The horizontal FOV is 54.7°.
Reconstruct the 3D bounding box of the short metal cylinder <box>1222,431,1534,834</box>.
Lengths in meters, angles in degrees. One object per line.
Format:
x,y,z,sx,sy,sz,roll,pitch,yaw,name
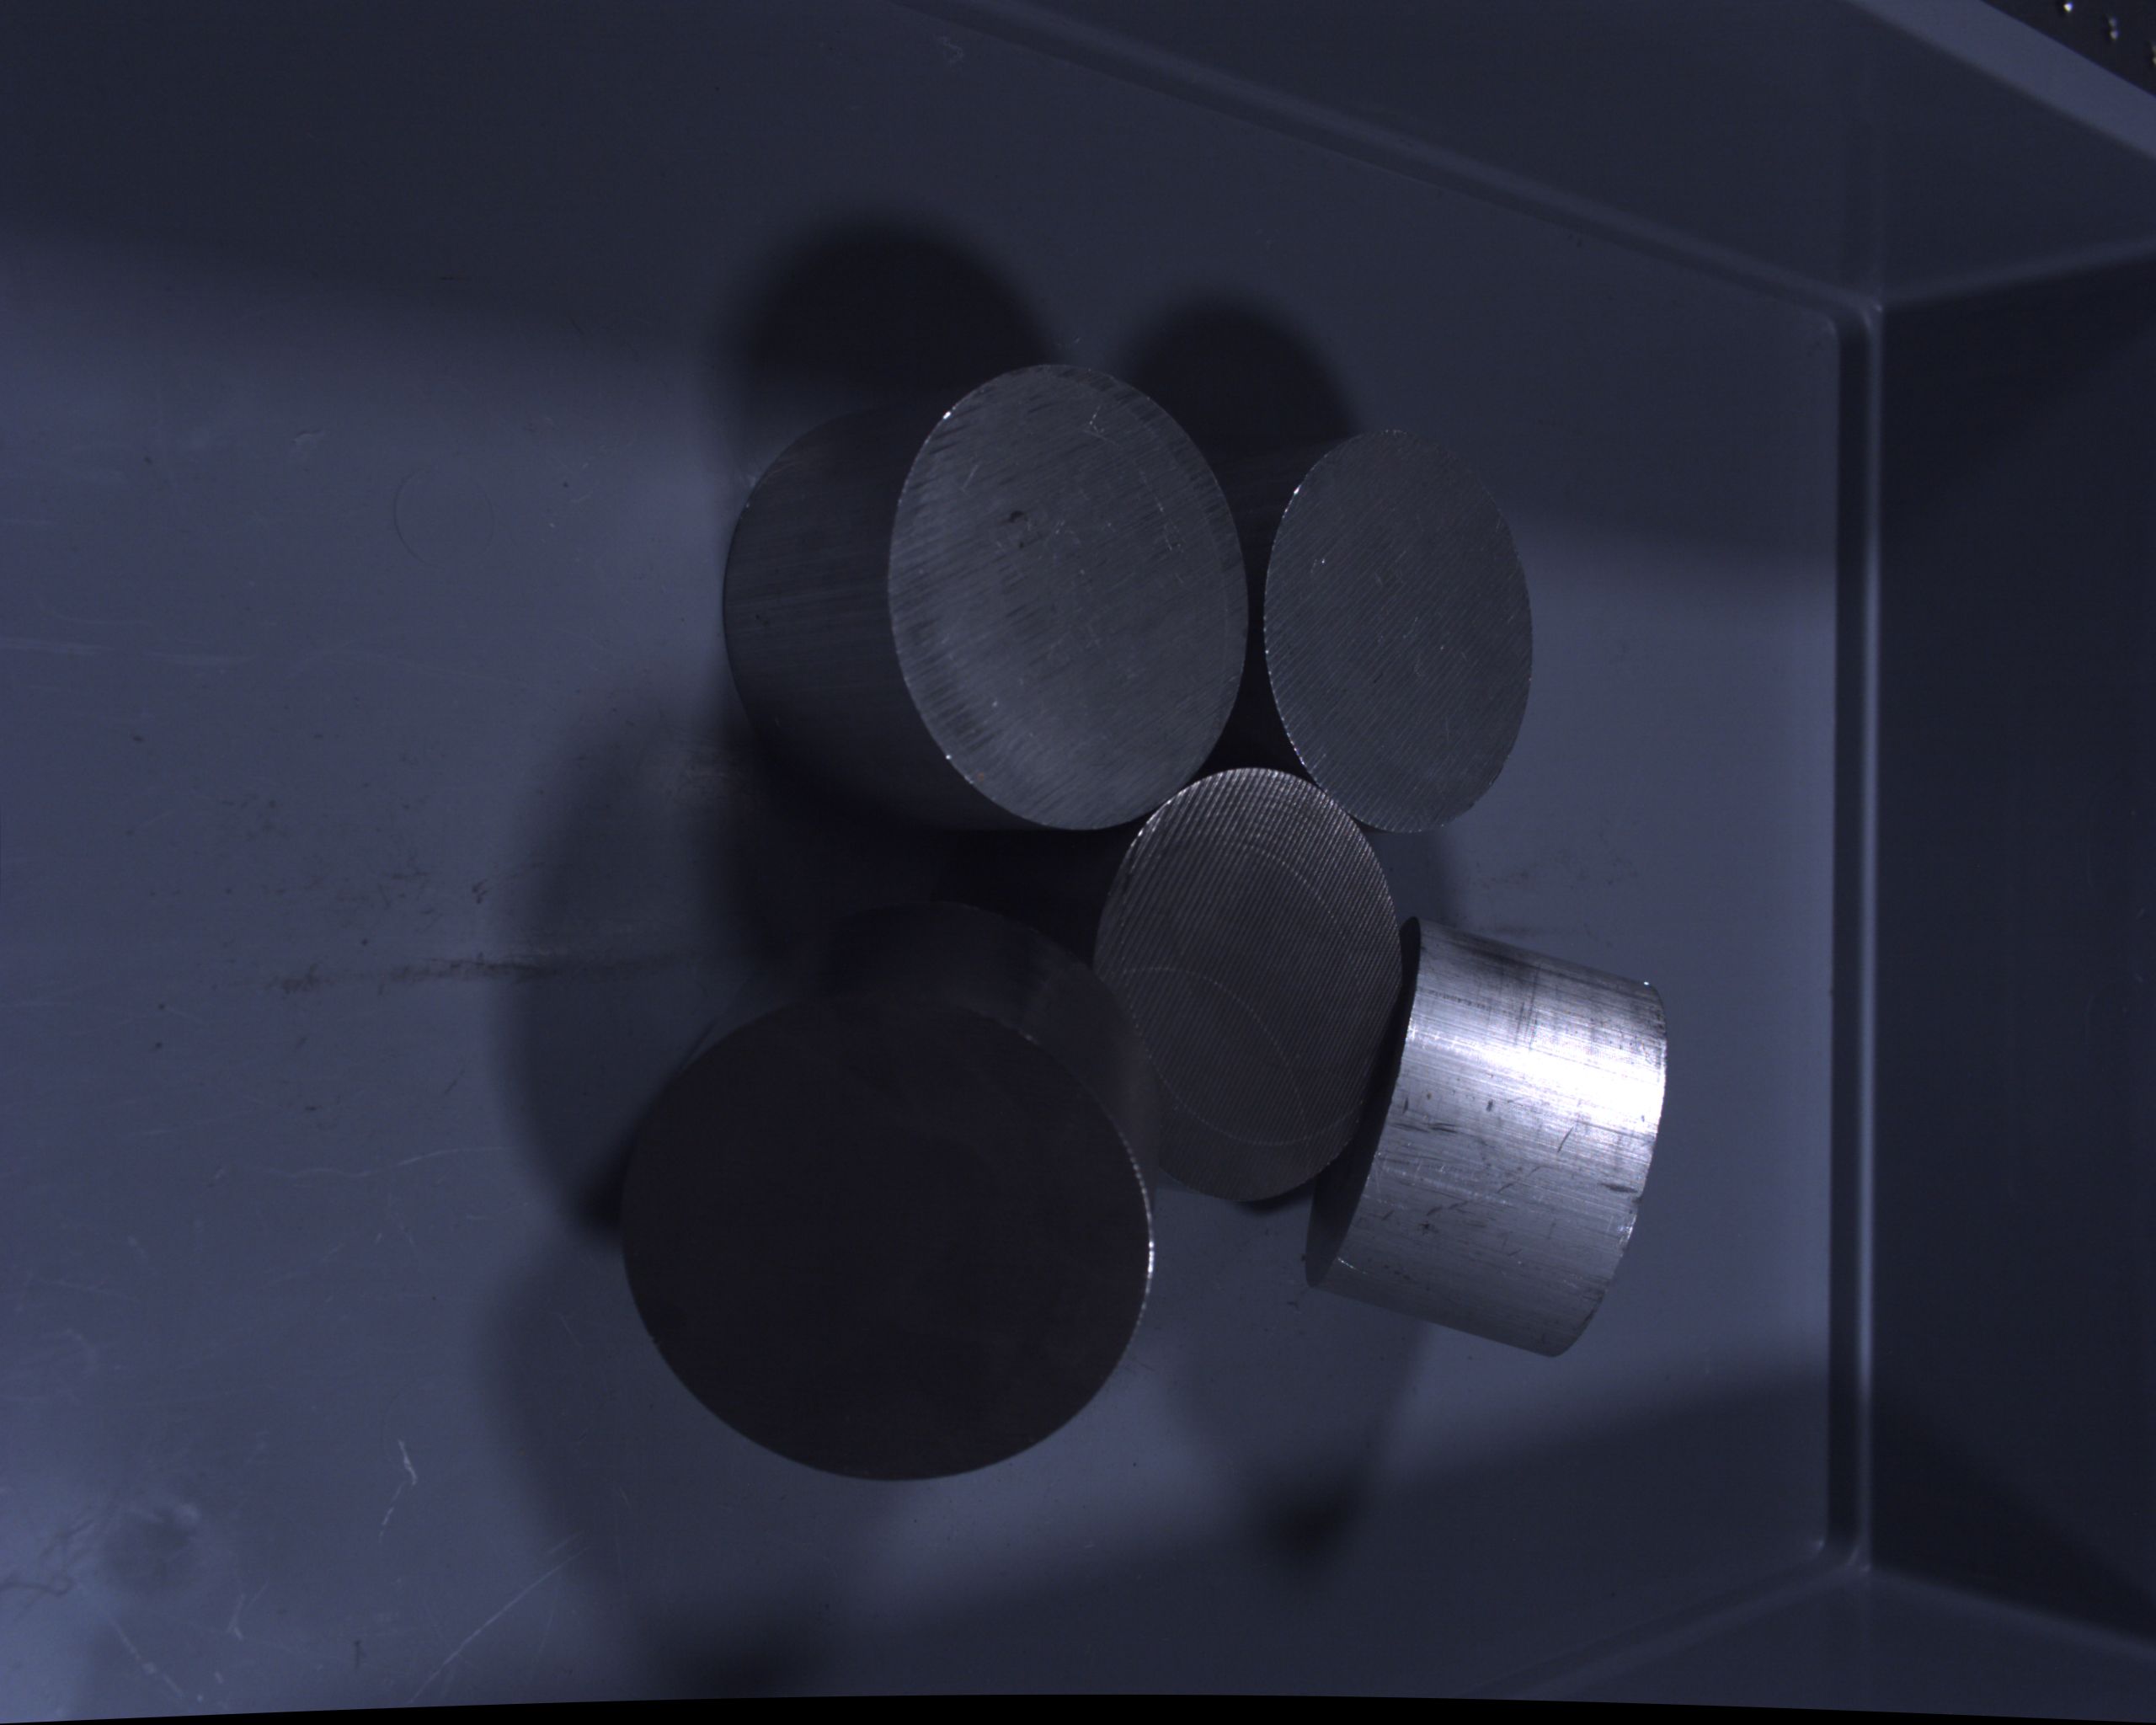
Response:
0.049,-0.046,0.432,0.081,0.050,0.079,0,90,-40,short metal cylinder

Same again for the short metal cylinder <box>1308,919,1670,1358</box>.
0.083,0.057,0.433,0.050,0.080,0.080,16,77,1,short metal cylinder

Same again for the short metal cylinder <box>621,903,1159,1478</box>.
-0.028,0.051,0.340,0.050,0.080,0.080,-76,151,-75,short metal cylinder

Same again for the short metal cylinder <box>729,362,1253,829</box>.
-0.015,-0.046,0.376,0.081,0.050,0.079,0,90,-40,short metal cylinder

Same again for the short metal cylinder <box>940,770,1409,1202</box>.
0.018,0.022,0.403,0.081,0.050,0.079,0,90,-40,short metal cylinder
